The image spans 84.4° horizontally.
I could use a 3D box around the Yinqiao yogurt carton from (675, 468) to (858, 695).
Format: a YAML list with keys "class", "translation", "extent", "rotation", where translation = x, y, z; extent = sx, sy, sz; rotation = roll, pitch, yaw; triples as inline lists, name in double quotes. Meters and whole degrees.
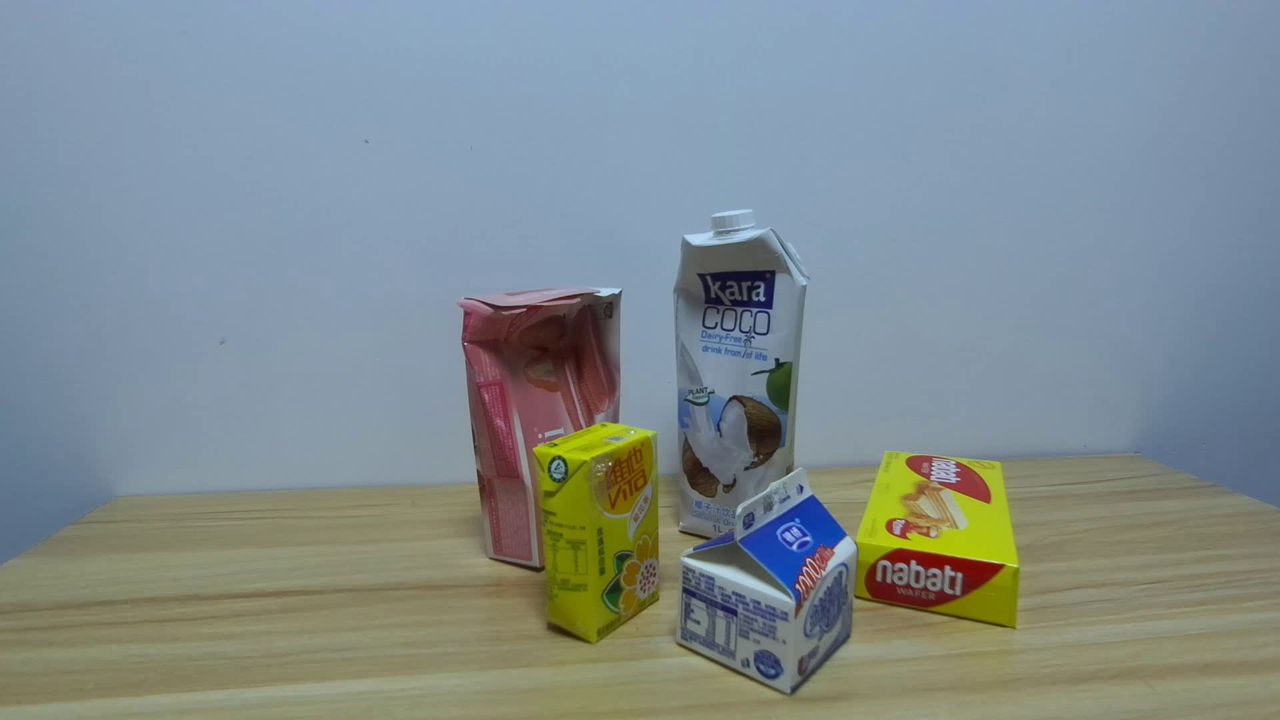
- class: "Yinqiao yogurt carton"
  translation: [0.069, 0.110, 0.381]
  extent: [0.073, 0.092, 0.076]
  rotation: [9, 15, 39]

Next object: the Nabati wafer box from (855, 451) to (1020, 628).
- class: "Nabati wafer box"
  translation: [0.212, 0.115, 0.503]
  extent: [0.092, 0.042, 0.203]
  rotation: [4, 11, 24]

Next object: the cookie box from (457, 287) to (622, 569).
- class: "cookie box"
  translation: [-0.063, 0.045, 0.498]
  extent: [0.055, 0.184, 0.119]
  rotation: [9, 15, 37]

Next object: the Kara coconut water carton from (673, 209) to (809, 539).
- class: "Kara coconut water carton"
  translation: [0.070, 0.013, 0.513]
  extent: [0.114, 0.238, 0.069]
  rotation: [7, 14, 34]

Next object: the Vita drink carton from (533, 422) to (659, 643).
- class: "Vita drink carton"
  translation: [-0.025, 0.097, 0.408]
  extent: [0.043, 0.109, 0.077]
  rotation: [7, 14, 36]
